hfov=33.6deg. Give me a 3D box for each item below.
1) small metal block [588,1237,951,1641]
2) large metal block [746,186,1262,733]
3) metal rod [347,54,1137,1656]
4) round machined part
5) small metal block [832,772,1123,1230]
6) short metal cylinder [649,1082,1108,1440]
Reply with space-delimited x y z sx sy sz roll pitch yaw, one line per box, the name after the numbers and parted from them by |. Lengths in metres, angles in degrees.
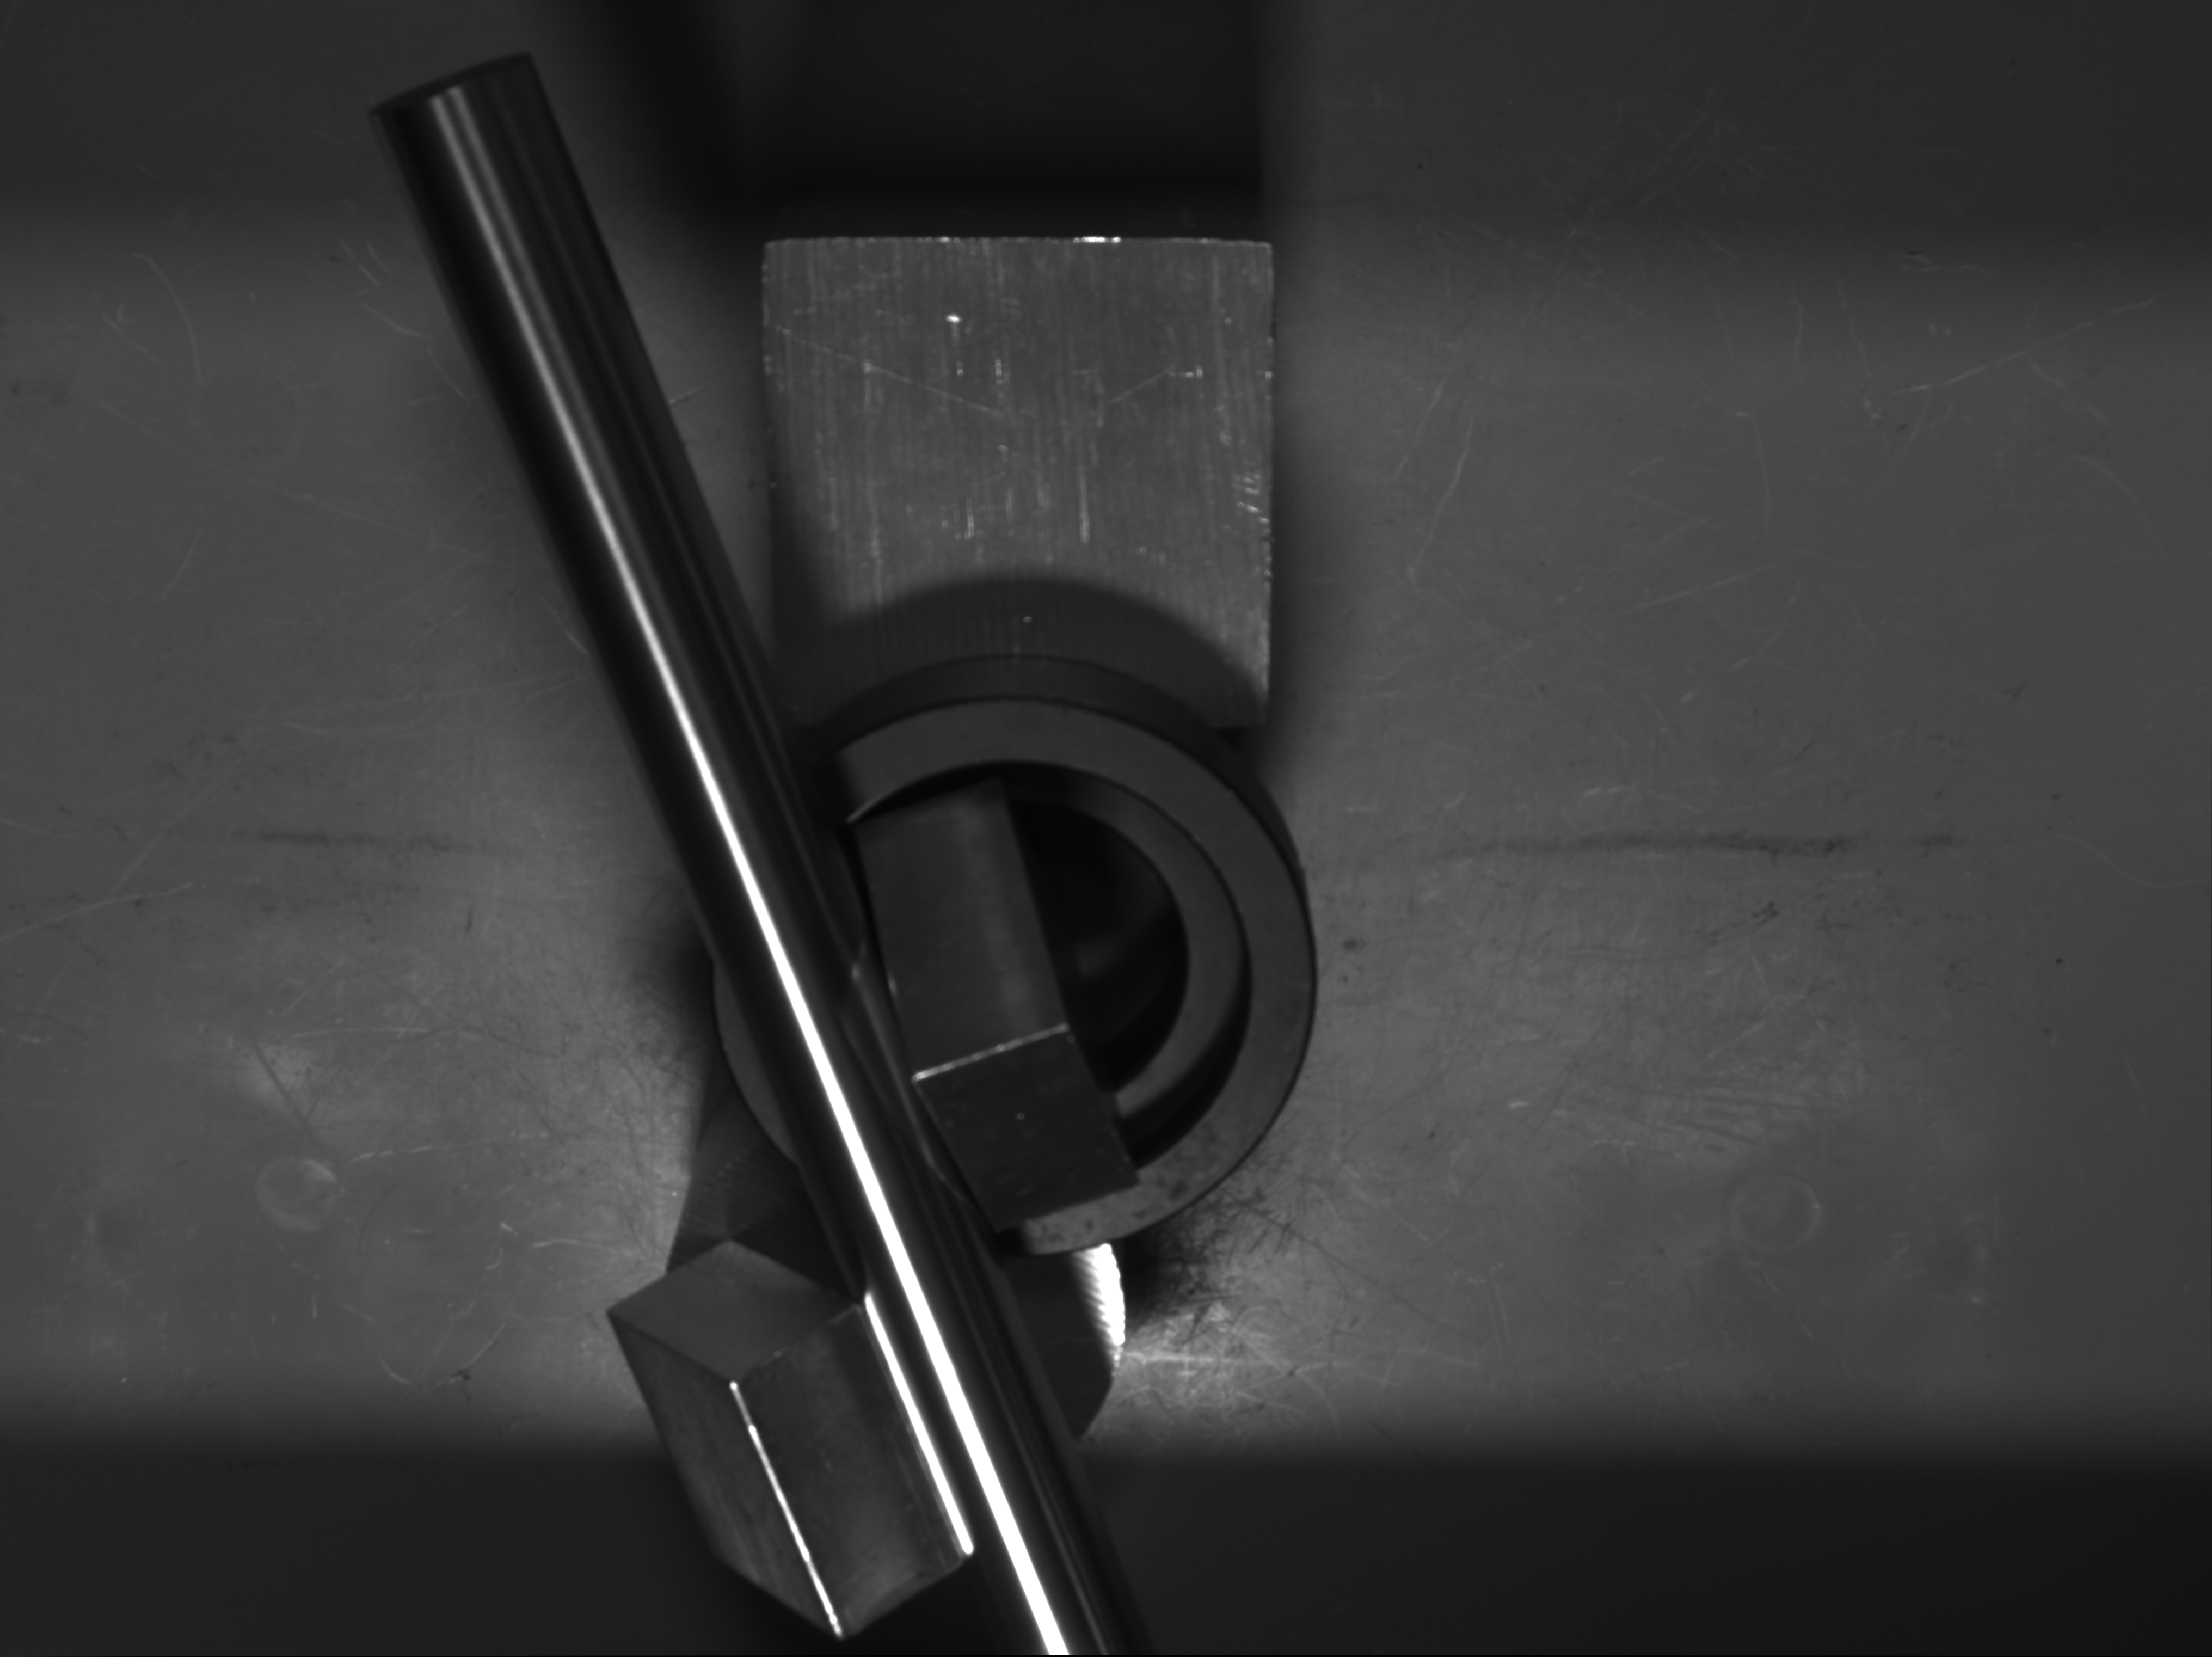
-0.056 0.101 0.609 0.025 0.050 0.050 -29 110 -26 | small metal block
-0.016 -0.062 0.605 0.080 0.050 0.080 0 110 -1 | large metal block
-0.049 0.026 0.577 0.025 0.025 0.300 -18 109 6 | metal rod
-0.017 0.018 0.608 0.098 0.042 0.098 0 110 -1 | round machined part
-0.020 0.028 0.587 0.025 0.050 0.050 -18 144 3 | small metal block
-0.040 0.076 0.657 0.080 0.050 0.080 0 110 -1 | short metal cylinder
